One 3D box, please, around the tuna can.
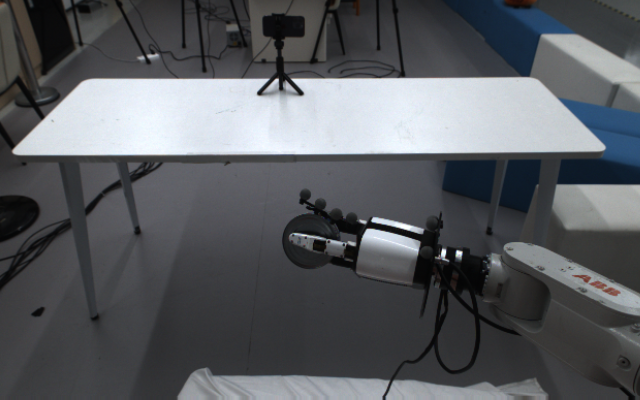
[{"bbox_3d":[-0.011,0.062,0.744,0.085,0.085,0.034,10,5,11],"label":"tuna can"}]
